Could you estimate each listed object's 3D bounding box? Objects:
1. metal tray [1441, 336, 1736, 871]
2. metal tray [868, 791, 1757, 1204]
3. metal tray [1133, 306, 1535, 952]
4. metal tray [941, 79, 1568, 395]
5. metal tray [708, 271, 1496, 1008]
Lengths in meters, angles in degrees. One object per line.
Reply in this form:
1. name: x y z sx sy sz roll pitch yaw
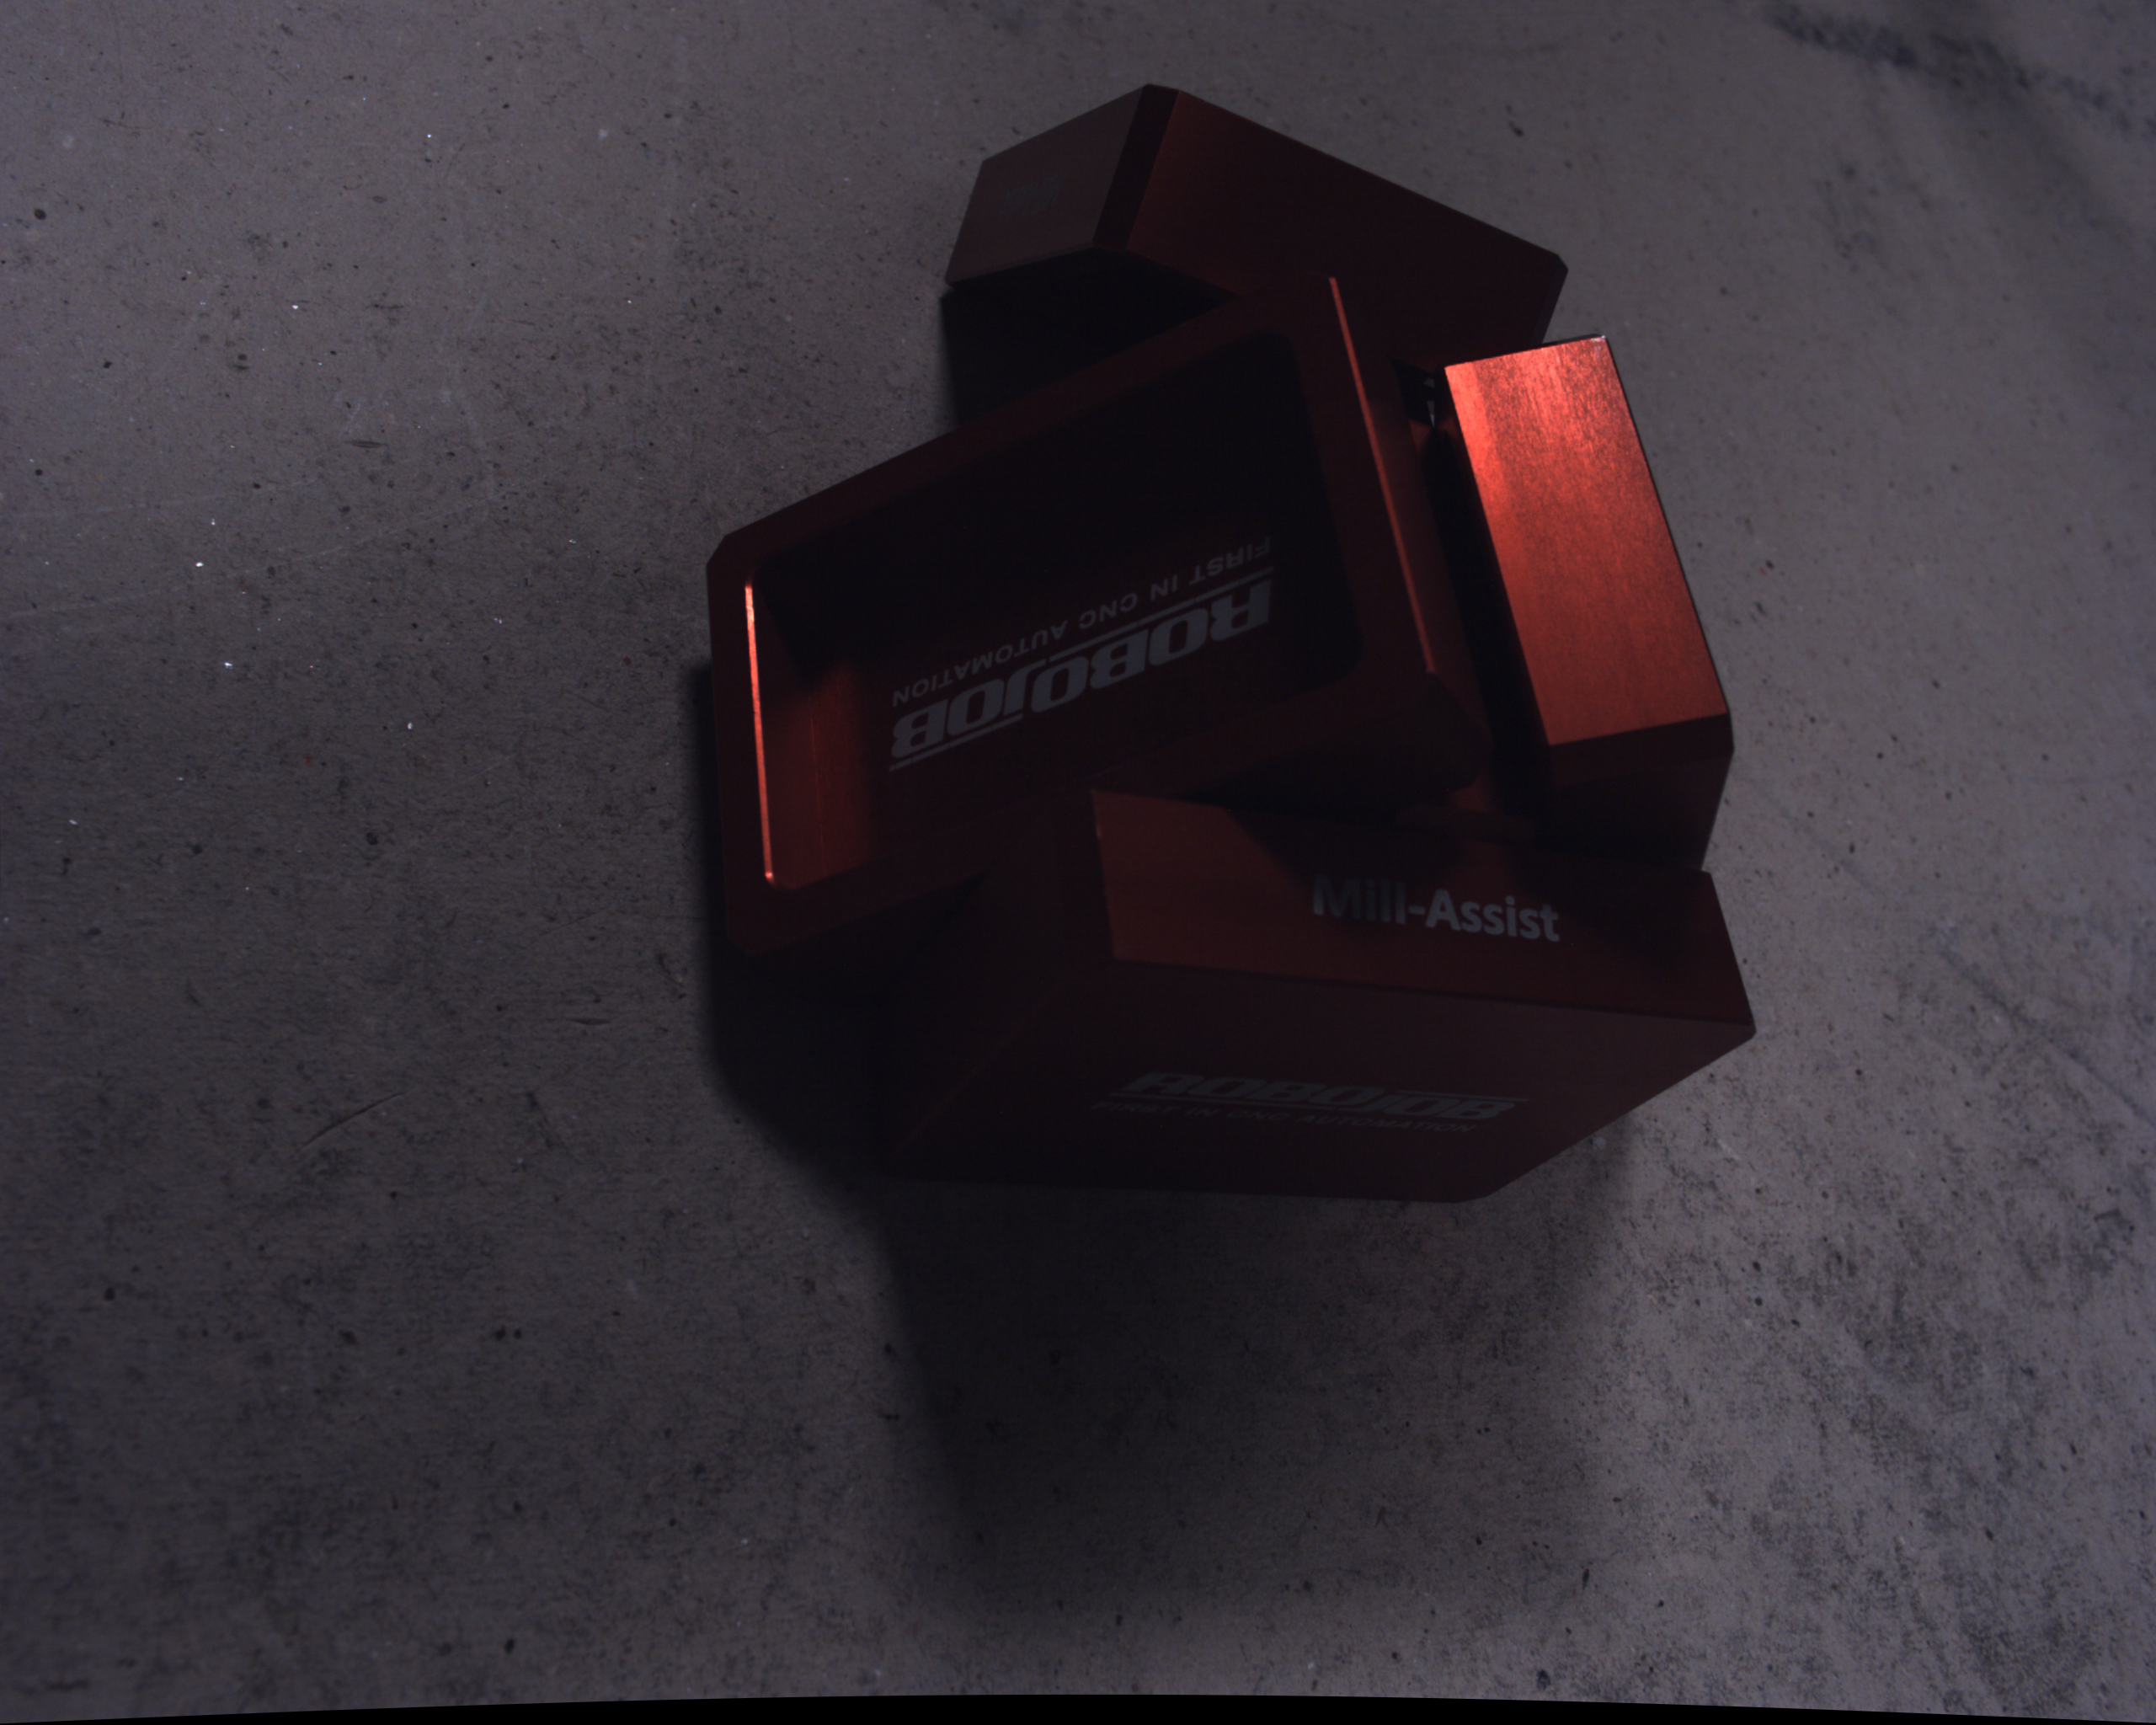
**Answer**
1. metal tray: 0.094 -0.028 0.411 0.030 0.130 0.090 -10 63 4
2. metal tray: 0.039 0.029 0.368 0.131 0.090 0.030 7 59 -25
3. metal tray: 0.039 -0.041 0.410 0.030 0.090 0.130 7 59 -25
4. metal tray: 0.031 -0.125 0.441 0.091 0.130 0.030 16 96 -20
5. metal tray: -0.002 -0.037 0.366 0.030 0.130 0.090 37 38 -54
